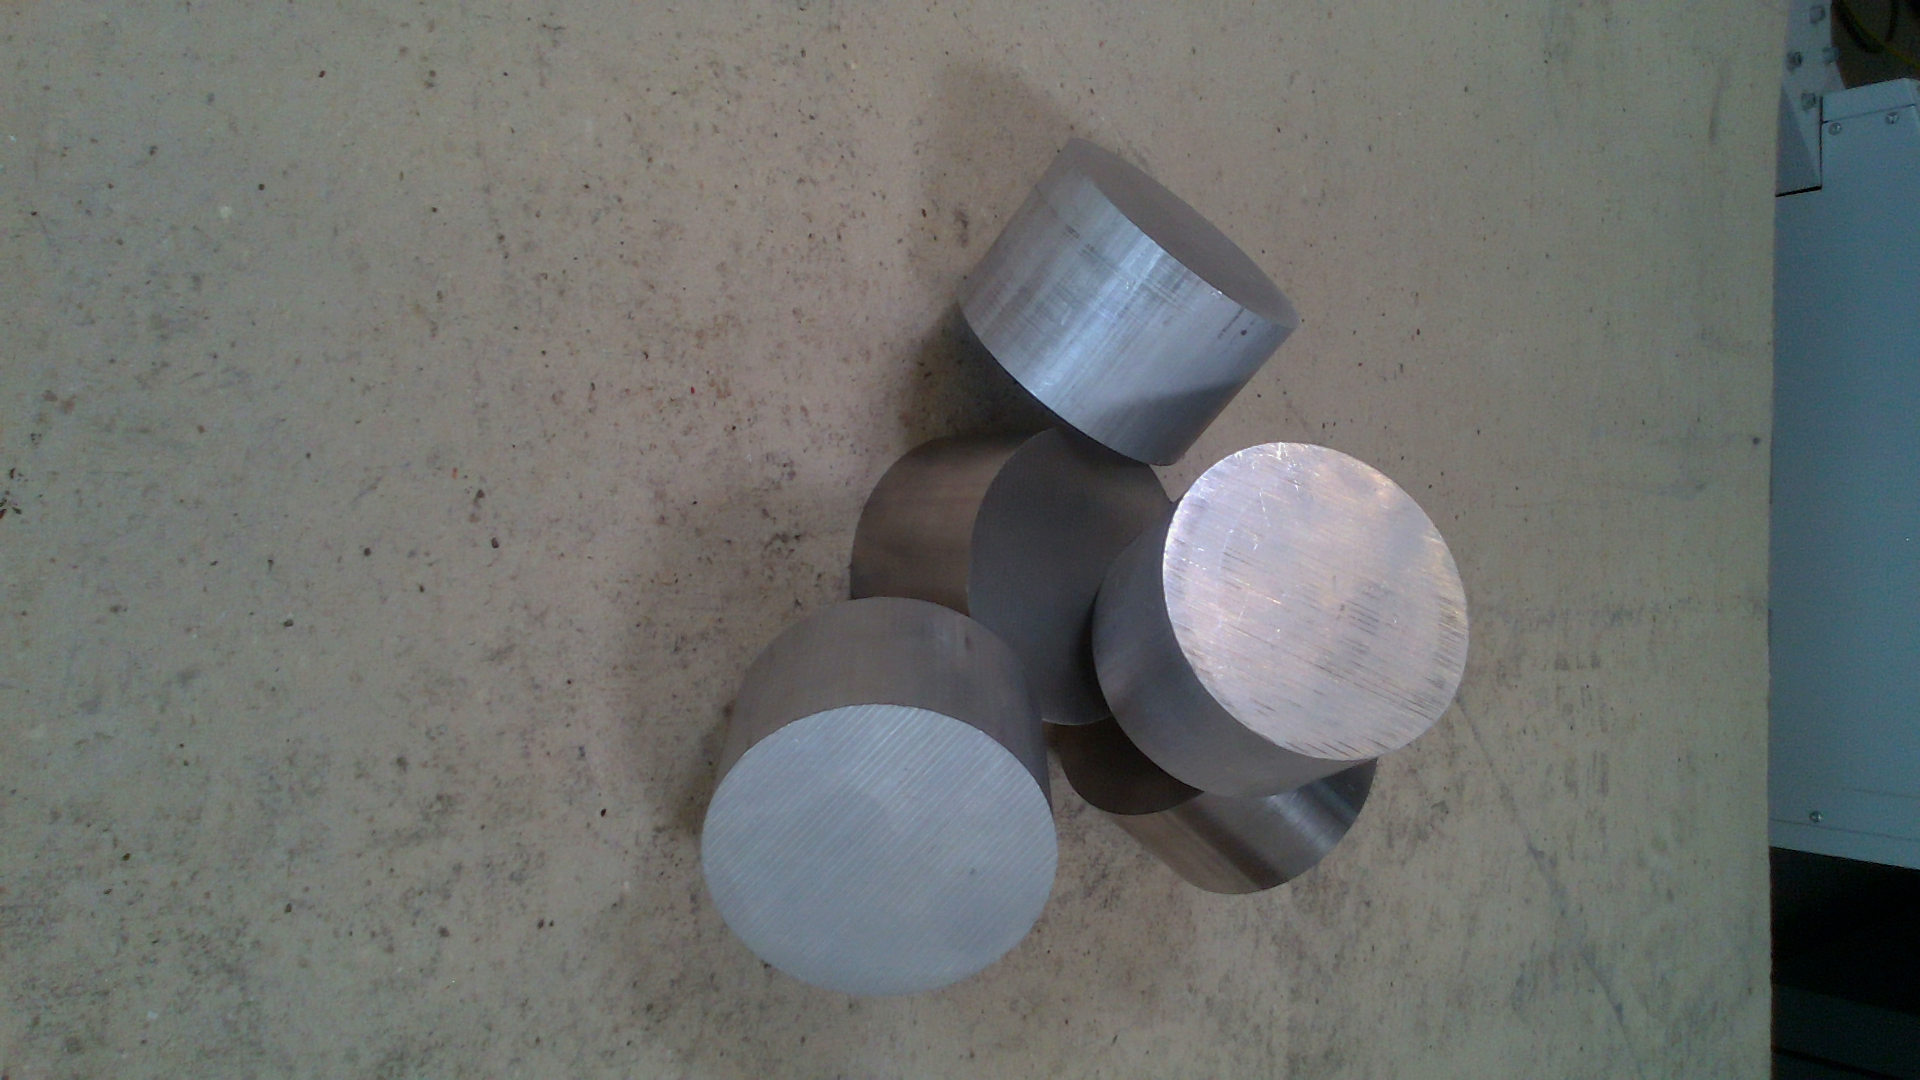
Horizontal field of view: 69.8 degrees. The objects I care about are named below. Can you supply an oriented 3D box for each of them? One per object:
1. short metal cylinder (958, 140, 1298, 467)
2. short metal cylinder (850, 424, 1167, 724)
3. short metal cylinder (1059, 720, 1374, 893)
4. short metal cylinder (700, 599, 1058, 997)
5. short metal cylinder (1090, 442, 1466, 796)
[{"bbox_3d":[0.047,-0.066,0.384,0.080,0.080,0.050,18,122,-38],"label":"short metal cylinder"},{"bbox_3d":[0.016,0.009,0.386,0.080,0.050,0.080,1,89,-40],"label":"short metal cylinder"},{"bbox_3d":[0.077,0.059,0.417,0.050,0.080,0.080,42,65,-32],"label":"short metal cylinder"},{"bbox_3d":[-0.018,0.061,0.331,0.080,0.050,0.080,-1,115,-1],"label":"short metal cylinder"},{"bbox_3d":[0.080,0.022,0.353,0.080,0.050,0.080,5,69,-14],"label":"short metal cylinder"}]
